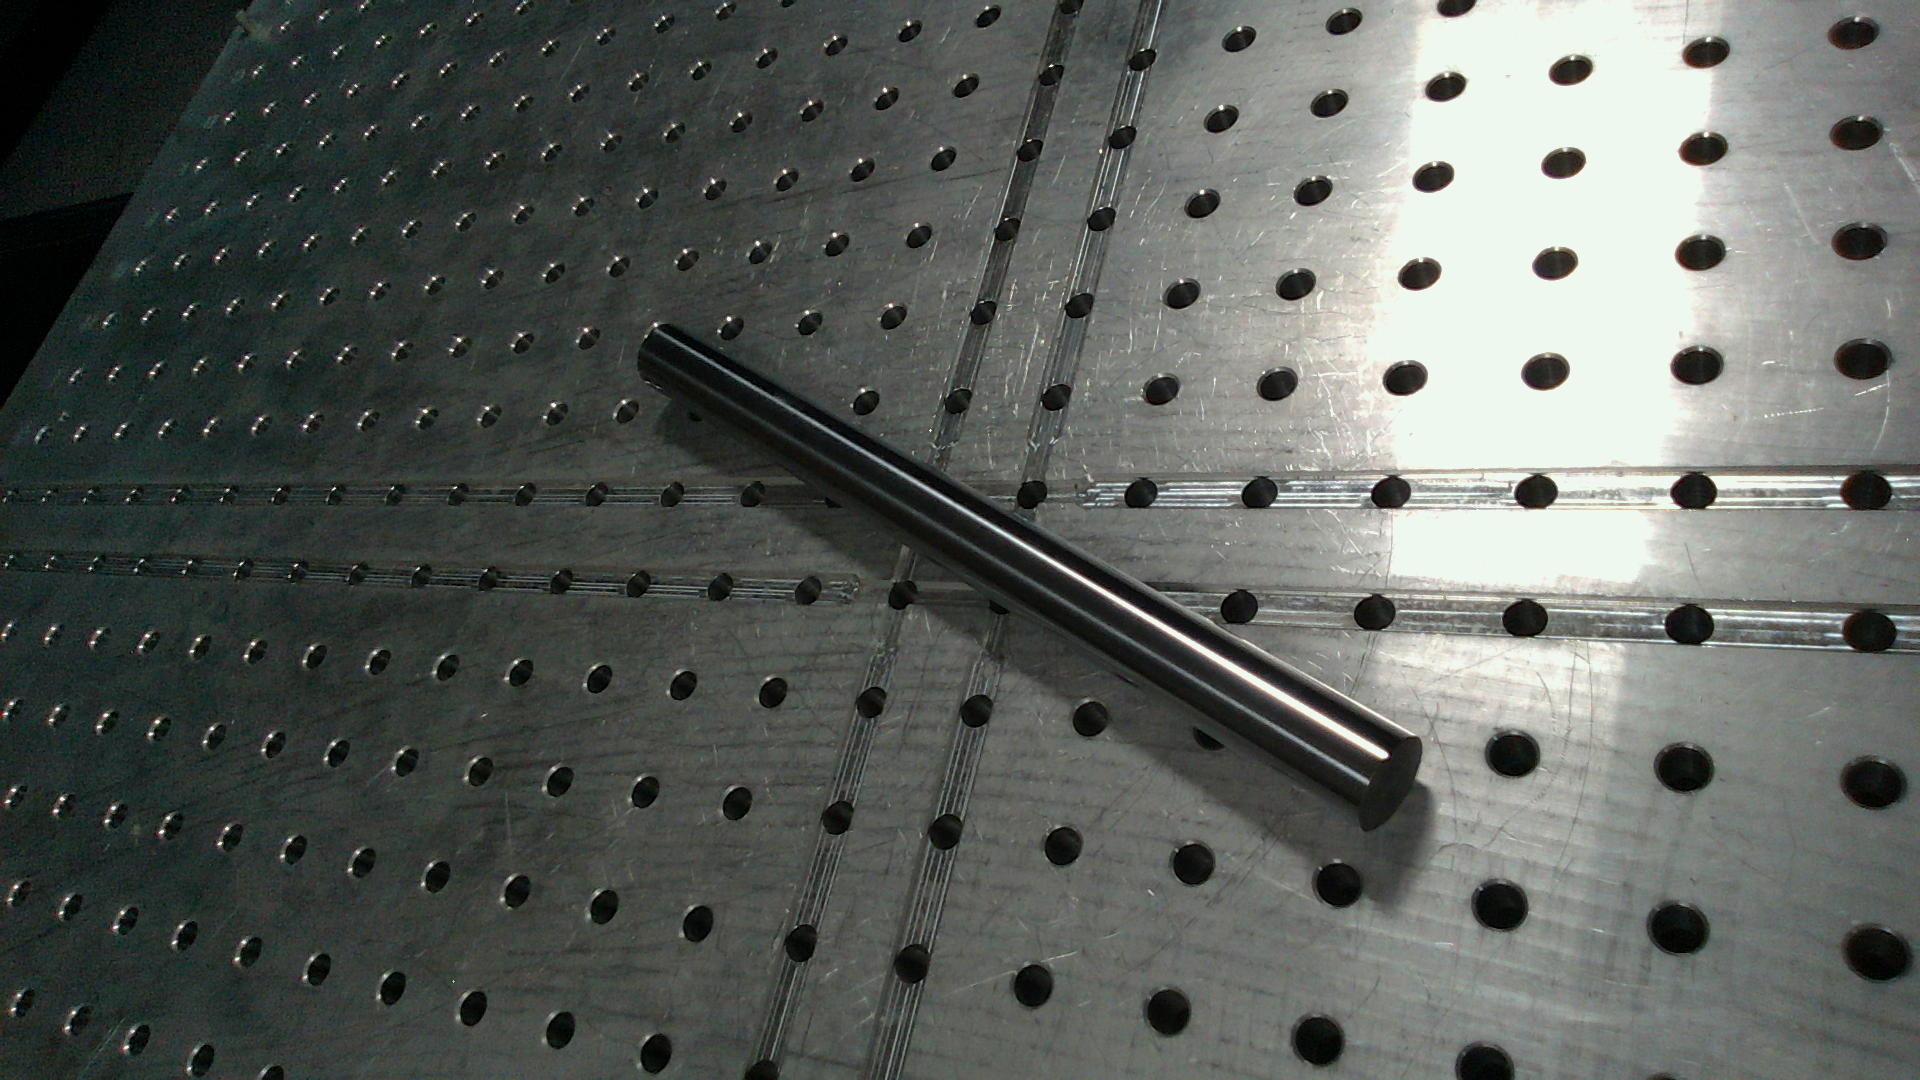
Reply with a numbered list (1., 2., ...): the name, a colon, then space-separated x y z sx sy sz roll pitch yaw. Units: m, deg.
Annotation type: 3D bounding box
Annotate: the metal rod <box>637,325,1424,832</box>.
1. metal rod: -0.004 -0.005 0.402 0.299 0.025 0.025 31 79 38
